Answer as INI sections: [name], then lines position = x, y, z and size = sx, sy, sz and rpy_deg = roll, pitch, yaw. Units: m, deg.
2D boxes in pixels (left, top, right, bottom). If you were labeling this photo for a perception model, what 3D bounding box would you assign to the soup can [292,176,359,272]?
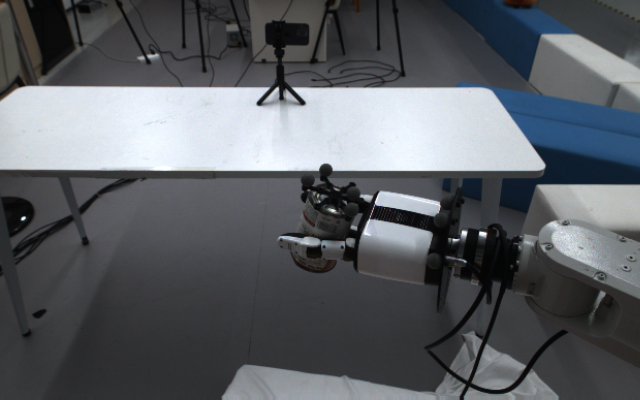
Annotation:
[soup can]
position = 0.005, 0.038, 0.641
size = 0.067, 0.101, 0.067
rpy_deg = 13, 35, -9
